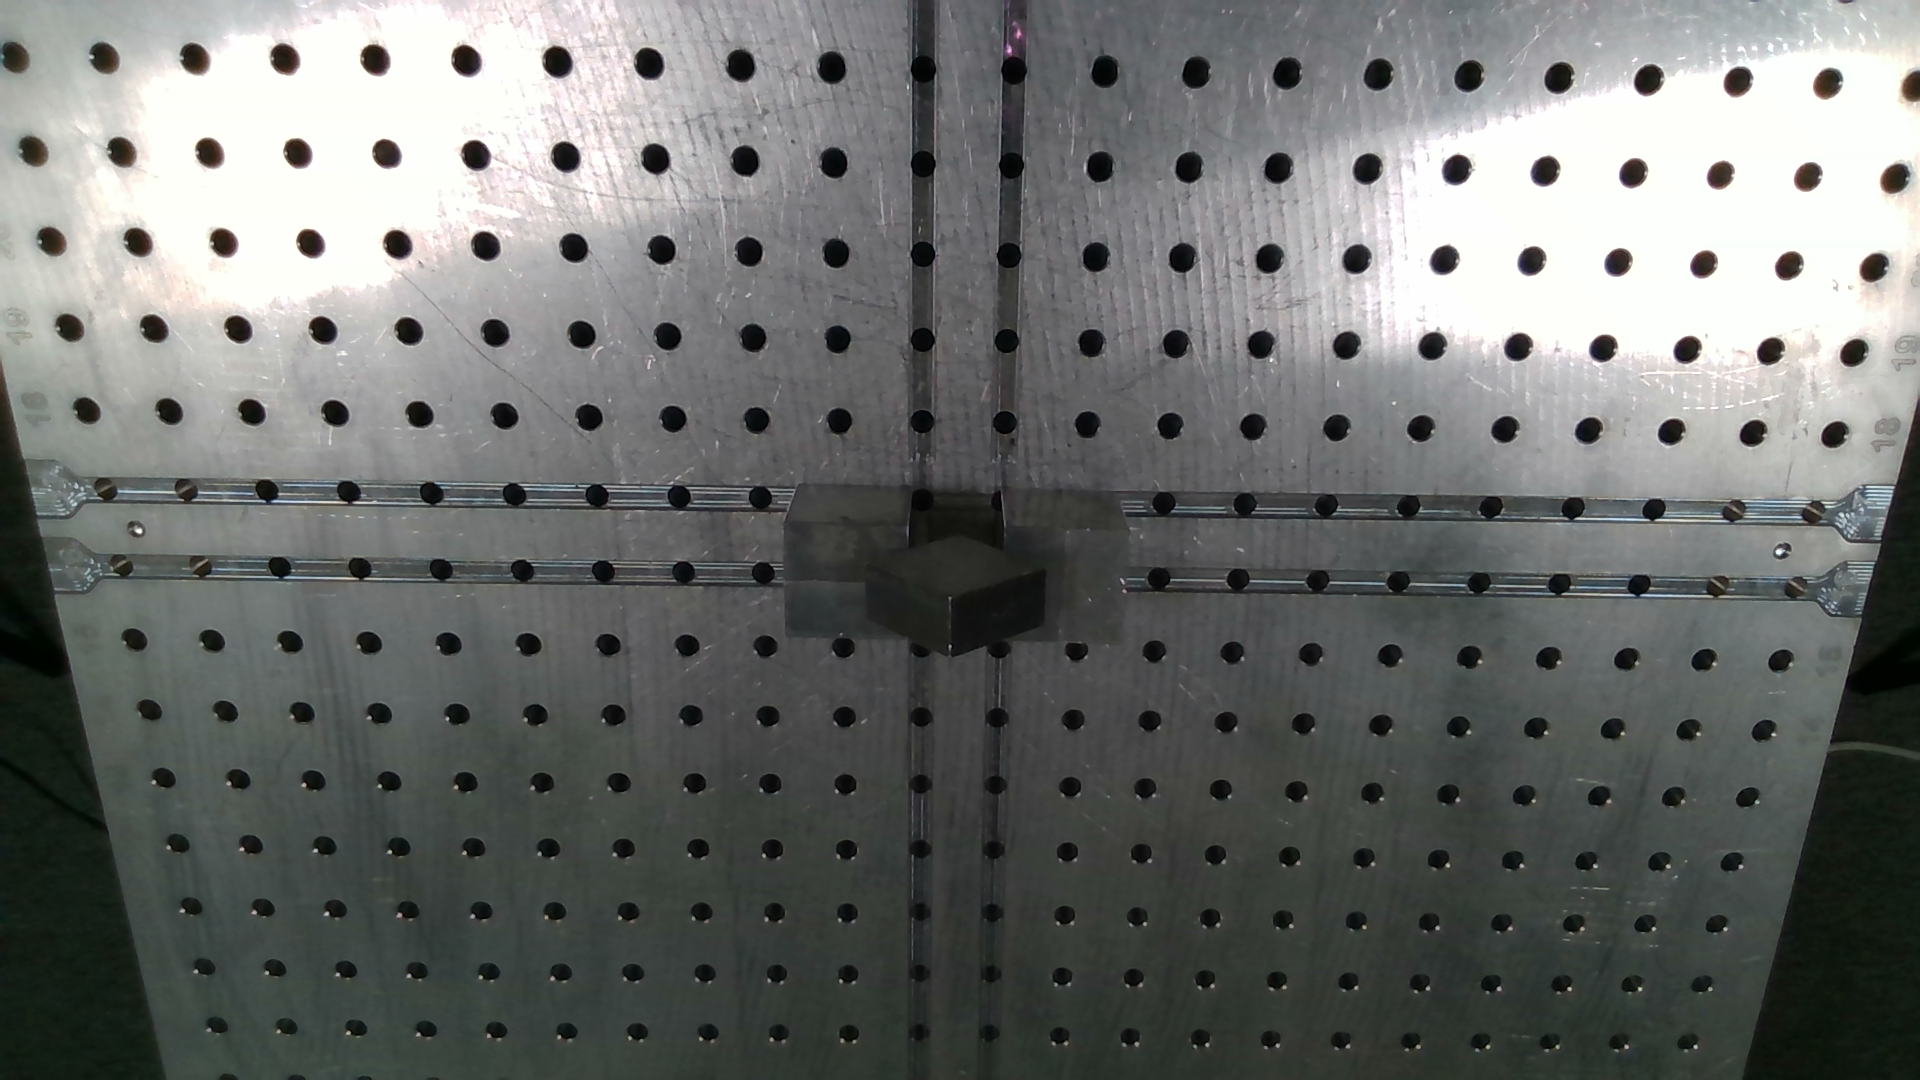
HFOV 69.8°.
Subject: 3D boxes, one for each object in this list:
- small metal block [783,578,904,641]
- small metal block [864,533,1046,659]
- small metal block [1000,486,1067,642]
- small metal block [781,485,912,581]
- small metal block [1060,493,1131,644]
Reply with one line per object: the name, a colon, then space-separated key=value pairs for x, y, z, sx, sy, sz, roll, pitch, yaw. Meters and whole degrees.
small metal block: x=-0.046 y=0.020 z=0.580 sx=0.050 sy=0.050 sz=0.025 roll=1 pitch=110 yaw=0
small metal block: x=-0.002 y=0.021 z=0.537 sx=0.050 sy=0.050 sz=0.025 roll=-16 pitch=115 yaw=-40
small metal block: x=0.029 y=0.009 z=0.577 sx=0.025 sy=0.050 sz=0.050 roll=2 pitch=110 yaw=-1
small metal block: x=-0.046 y=-0.004 z=0.572 sx=0.050 sy=0.050 sz=0.025 roll=1 pitch=110 yaw=0
small metal block: x=0.054 y=0.010 z=0.577 sx=0.025 sy=0.050 sz=0.050 roll=2 pitch=110 yaw=-1
